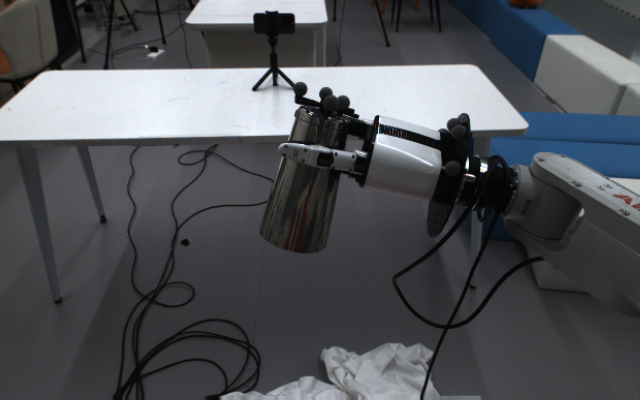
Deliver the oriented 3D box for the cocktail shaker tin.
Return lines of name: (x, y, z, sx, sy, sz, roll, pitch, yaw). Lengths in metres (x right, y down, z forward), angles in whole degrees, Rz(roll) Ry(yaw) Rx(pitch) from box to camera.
cocktail shaker tin: (-0.014, -0.031, 0.621, 0.093, 0.170, 0.093, 14, 19, -5)
